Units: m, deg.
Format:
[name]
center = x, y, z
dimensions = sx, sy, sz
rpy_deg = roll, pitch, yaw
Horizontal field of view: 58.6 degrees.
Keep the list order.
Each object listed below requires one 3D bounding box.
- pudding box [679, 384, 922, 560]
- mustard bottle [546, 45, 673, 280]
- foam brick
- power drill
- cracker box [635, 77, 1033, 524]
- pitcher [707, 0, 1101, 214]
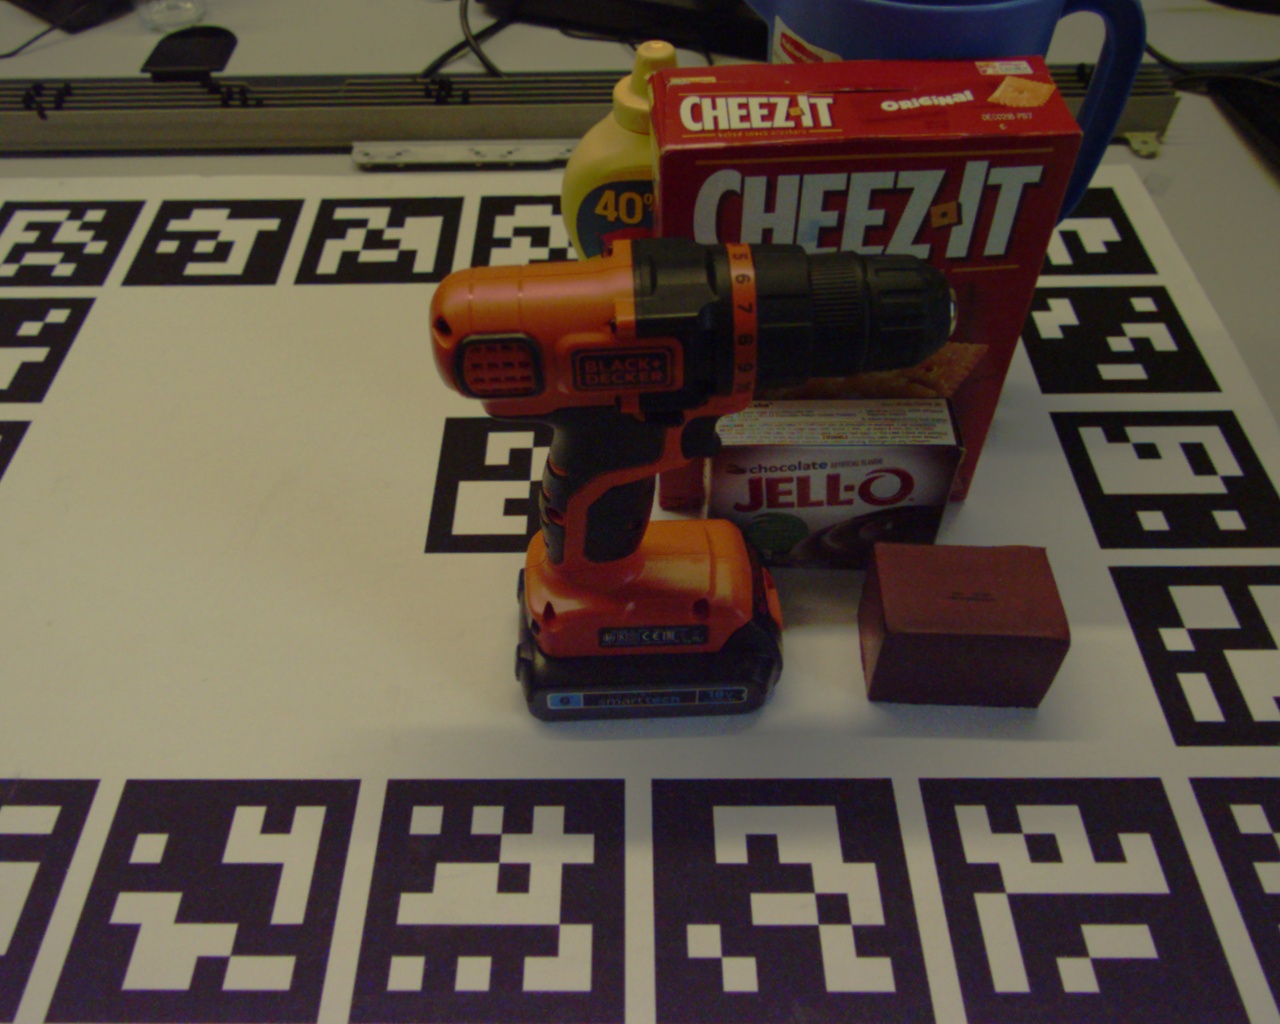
[pudding box]
center = 0.076, -0.019, 0.563
dimensions = 0.114, 0.089, 0.039
rpy_deg = -1, 47, 4
[mustard bottle]
center = -0.003, -0.163, 0.630
dimensions = 0.097, 0.191, 0.058
rpy_deg = 10, 51, 10
[foam brick]
center = 0.133, 0.051, 0.544
dimensions = 0.078, 0.051, 0.053
rpy_deg = 2, 50, 3
[power drill]
center = 0.013, -0.018, 0.473
dimensions = 0.184, 0.186, 0.057
rpy_deg = 0, 45, 0
[cracker box]
center = 0.083, -0.091, 0.555
dimensions = 0.164, 0.212, 0.072
rpy_deg = -3, 47, 1
[pitcher]
center = 0.130, -0.171, 0.618
dimensions = 0.189, 0.241, 0.133
rpy_deg = 4, 49, 7
